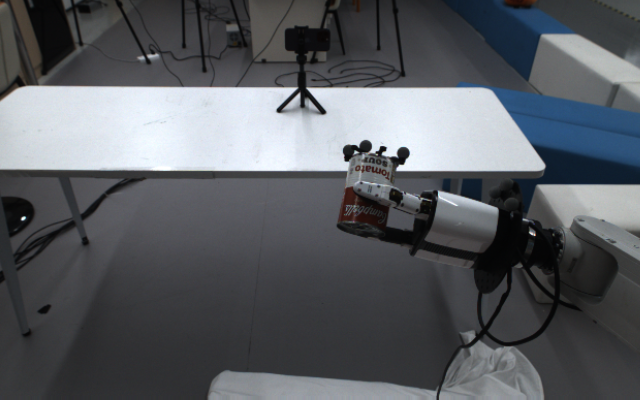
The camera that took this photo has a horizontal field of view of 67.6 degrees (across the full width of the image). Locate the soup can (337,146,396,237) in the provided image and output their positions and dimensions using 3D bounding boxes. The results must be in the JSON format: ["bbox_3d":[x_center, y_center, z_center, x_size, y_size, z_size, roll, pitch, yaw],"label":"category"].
[{"bbox_3d":[0.066,-0.007,0.668,0.067,0.067,0.101,9,74,9],"label":"soup can"}]
